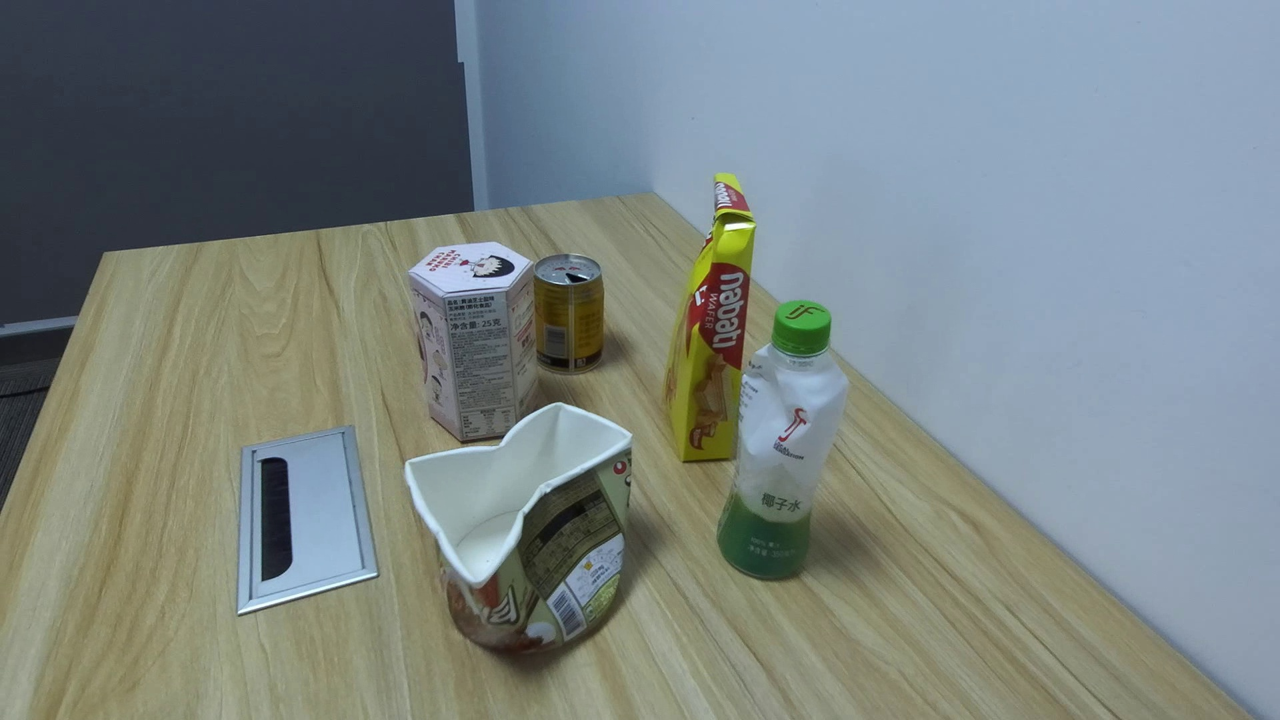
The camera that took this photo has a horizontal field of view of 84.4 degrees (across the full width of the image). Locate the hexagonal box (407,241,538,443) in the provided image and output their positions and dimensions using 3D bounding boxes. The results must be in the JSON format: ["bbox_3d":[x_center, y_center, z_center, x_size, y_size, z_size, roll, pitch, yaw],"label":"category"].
[{"bbox_3d":[-0.128,-0.014,0.557,0.084,0.136,0.091,10,34,10],"label":"hexagonal box"}]

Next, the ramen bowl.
[{"bbox_3d":[-0.061,0.101,0.431,0.129,0.093,0.111,-21,41,-31],"label":"ramen bowl"}]

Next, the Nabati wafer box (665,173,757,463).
[{"bbox_3d":[0.054,-0.028,0.533,0.043,0.205,0.113,0,33,-6],"label":"Nabati wafer box"}]

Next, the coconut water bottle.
[{"bbox_3d":[0.089,0.051,0.434,0.069,0.187,0.069,2,35,-1],"label":"coconut water bottle"}]

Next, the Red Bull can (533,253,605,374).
[{"bbox_3d":[-0.067,-0.042,0.646,0.068,0.093,0.068,3,33,-1],"label":"Red Bull can"}]
